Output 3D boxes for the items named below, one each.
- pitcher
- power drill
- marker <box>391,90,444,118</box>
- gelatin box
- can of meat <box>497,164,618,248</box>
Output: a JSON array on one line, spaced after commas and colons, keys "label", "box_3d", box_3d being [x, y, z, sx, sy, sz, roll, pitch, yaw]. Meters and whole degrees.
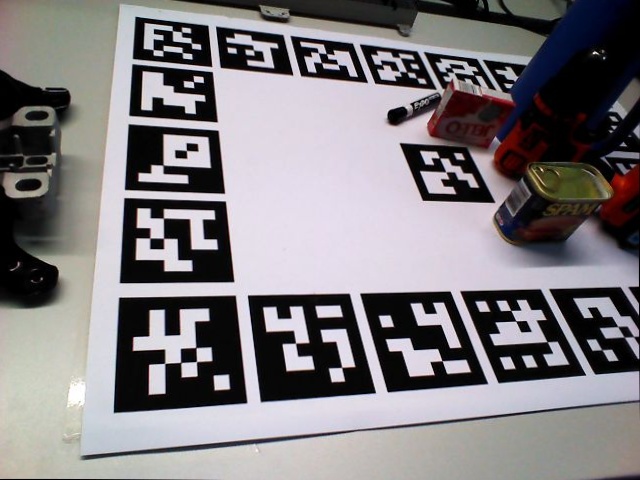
[{"label": "pitcher", "box_3d": [0.369, -0.210, 0.673, 0.189, 0.244, 0.132, 23, 53, 9]}, {"label": "power drill", "box_3d": [0.334, -0.115, 0.618, 0.187, 0.186, 0.057, 32, 53, 1]}, {"label": "marker", "box_3d": [0.145, -0.193, 0.723, 0.120, 0.020, 0.019, -24, 64, -30]}, {"label": "gelatin box", "box_3d": [0.212, -0.162, 0.689, 0.089, 0.074, 0.030, 11, 55, -11]}, {"label": "can of meat", "box_3d": [0.268, -0.037, 0.597, 0.101, 0.084, 0.057, 0, 52, -18]}]
